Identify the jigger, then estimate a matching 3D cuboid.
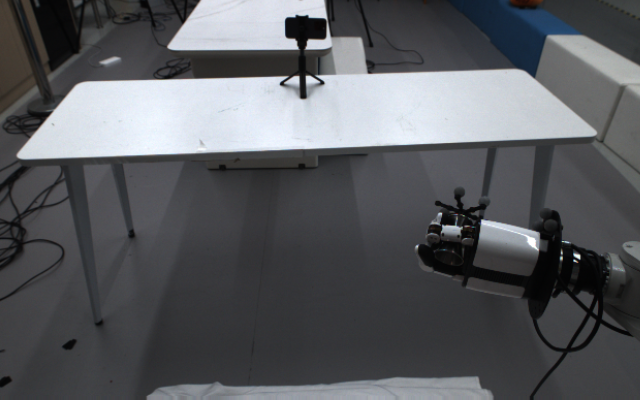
[{"bbox_3d":[0.205,0.056,0.735,0.043,0.043,0.071,16,58,19],"label":"jigger"}]
